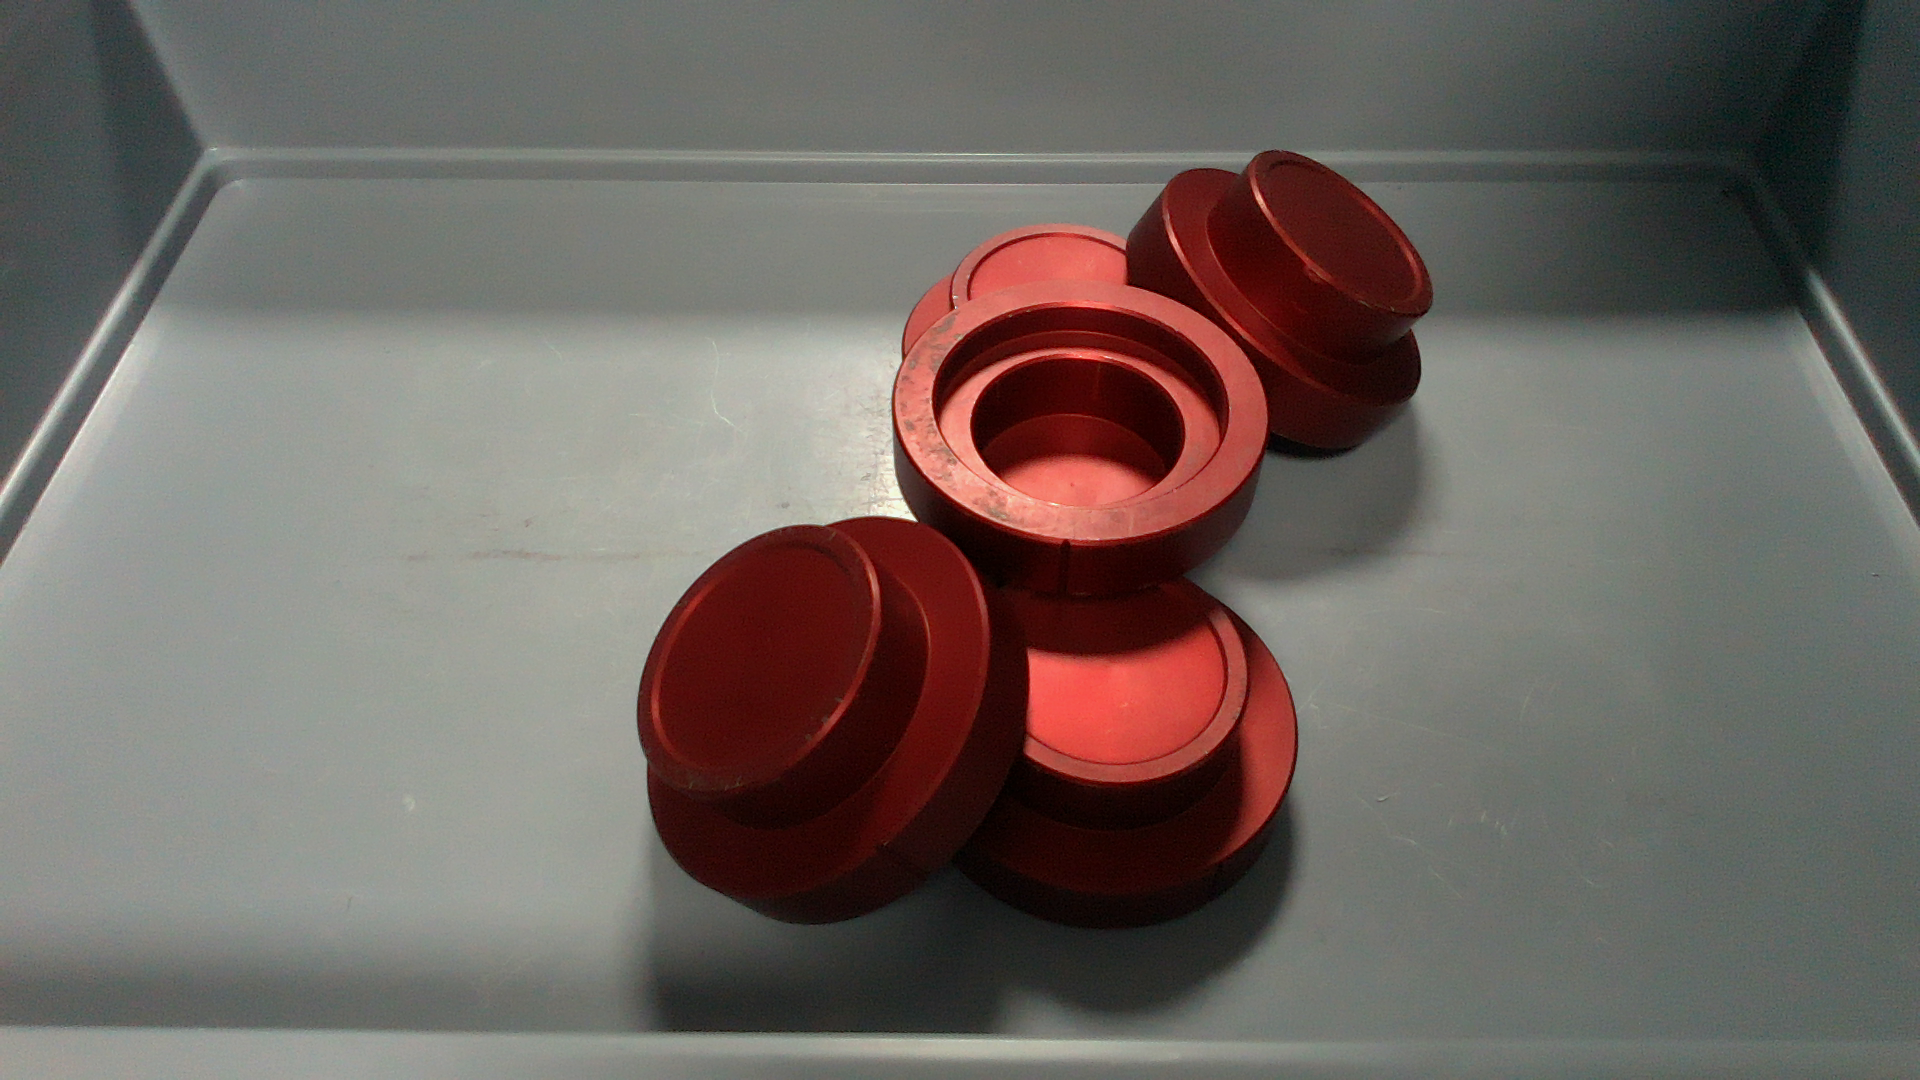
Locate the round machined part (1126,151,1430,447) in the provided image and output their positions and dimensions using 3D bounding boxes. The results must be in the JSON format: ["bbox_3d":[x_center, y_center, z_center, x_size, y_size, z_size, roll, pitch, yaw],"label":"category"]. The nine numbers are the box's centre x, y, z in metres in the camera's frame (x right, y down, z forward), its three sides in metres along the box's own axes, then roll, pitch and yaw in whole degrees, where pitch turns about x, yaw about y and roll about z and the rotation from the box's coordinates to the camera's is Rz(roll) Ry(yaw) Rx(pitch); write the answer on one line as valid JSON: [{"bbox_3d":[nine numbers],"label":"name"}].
[{"bbox_3d":[0.102,-0.079,0.418,0.098,0.042,0.098,22,43,-21],"label":"round machined part"}]

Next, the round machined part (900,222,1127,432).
[{"bbox_3d":[0.030,-0.062,0.431,0.098,0.042,0.098,0,50,0],"label":"round machined part"}]

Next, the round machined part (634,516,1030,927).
[{"bbox_3d":[-0.036,0.036,0.321,0.098,0.042,0.098,-19,50,24],"label":"round machined part"}]

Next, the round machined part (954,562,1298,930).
[{"bbox_3d":[0.035,0.042,0.343,0.098,0.042,0.098,0,50,0],"label":"round machined part"}]

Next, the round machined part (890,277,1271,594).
[{"bbox_3d":[0.031,-0.024,0.370,0.098,0.042,0.098,0,50,0],"label":"round machined part"}]
